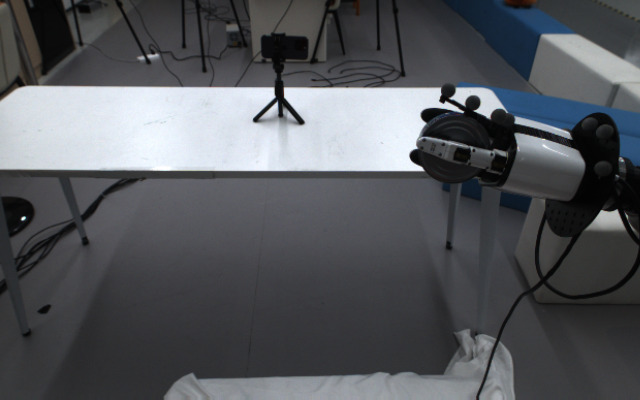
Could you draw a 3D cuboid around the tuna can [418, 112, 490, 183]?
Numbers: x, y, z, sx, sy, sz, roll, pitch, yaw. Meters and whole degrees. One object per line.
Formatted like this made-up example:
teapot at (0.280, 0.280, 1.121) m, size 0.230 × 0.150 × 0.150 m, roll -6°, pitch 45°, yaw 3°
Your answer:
tuna can at (0.167, -0.068, 0.604) m, size 0.085 × 0.085 × 0.034 m, roll 7°, pitch 17°, yaw 6°
